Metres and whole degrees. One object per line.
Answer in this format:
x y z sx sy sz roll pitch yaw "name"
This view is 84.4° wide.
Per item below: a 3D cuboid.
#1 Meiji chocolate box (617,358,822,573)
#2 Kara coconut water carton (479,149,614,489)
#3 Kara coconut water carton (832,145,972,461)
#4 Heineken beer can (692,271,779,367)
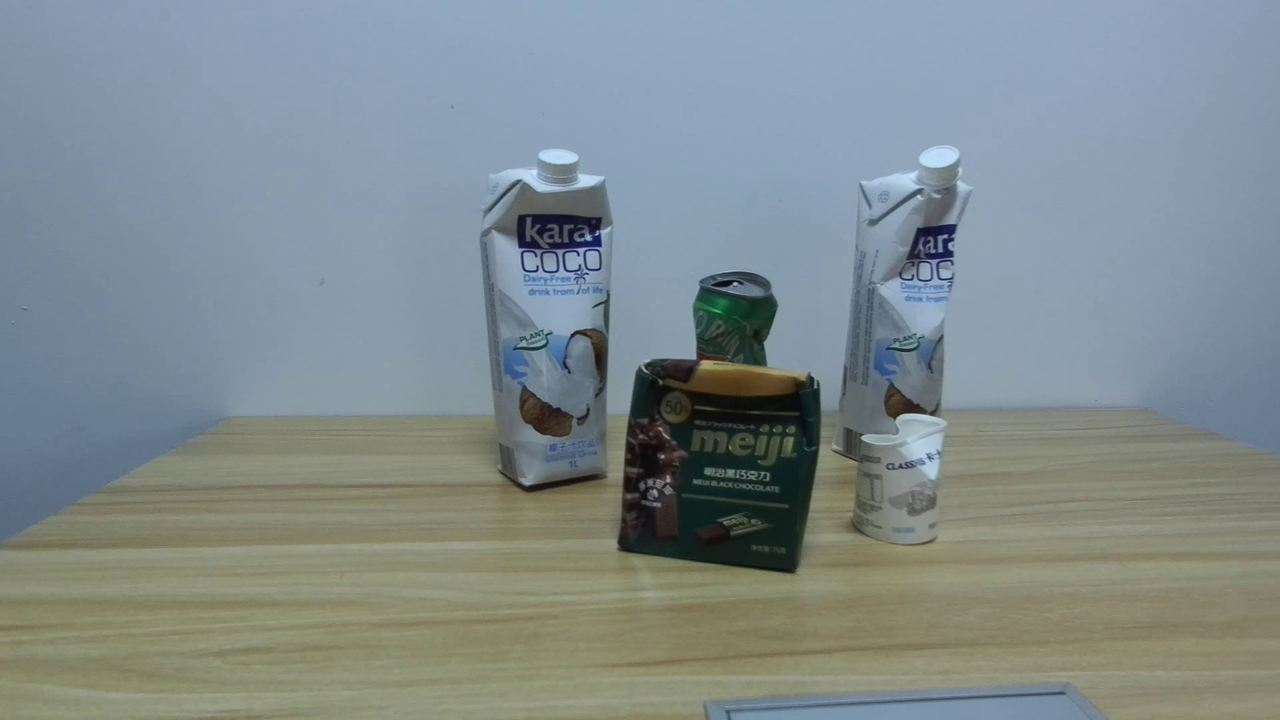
0.047 0.065 0.438 0.113 0.110 0.058 5 -2 15 "Meiji chocolate box"
-0.066 -0.031 0.537 0.100 0.244 0.071 -8 12 -29 "Kara coconut water carton"
0.214 -0.041 0.582 0.083 0.255 0.078 -1 12 -15 "Kara coconut water carton"
0.075 0.013 0.553 0.067 0.159 0.078 -3 16 -3 "Heineken beer can"
